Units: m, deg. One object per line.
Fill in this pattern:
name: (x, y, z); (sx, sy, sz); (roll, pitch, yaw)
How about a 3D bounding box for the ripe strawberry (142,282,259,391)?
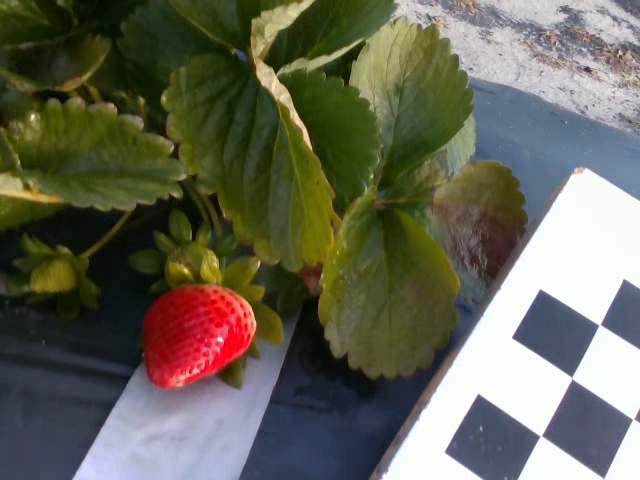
ripe strawberry: (-0.039, 0.033, 0.196); (0.050, 0.055, 0.036); (33, -44, -1)
